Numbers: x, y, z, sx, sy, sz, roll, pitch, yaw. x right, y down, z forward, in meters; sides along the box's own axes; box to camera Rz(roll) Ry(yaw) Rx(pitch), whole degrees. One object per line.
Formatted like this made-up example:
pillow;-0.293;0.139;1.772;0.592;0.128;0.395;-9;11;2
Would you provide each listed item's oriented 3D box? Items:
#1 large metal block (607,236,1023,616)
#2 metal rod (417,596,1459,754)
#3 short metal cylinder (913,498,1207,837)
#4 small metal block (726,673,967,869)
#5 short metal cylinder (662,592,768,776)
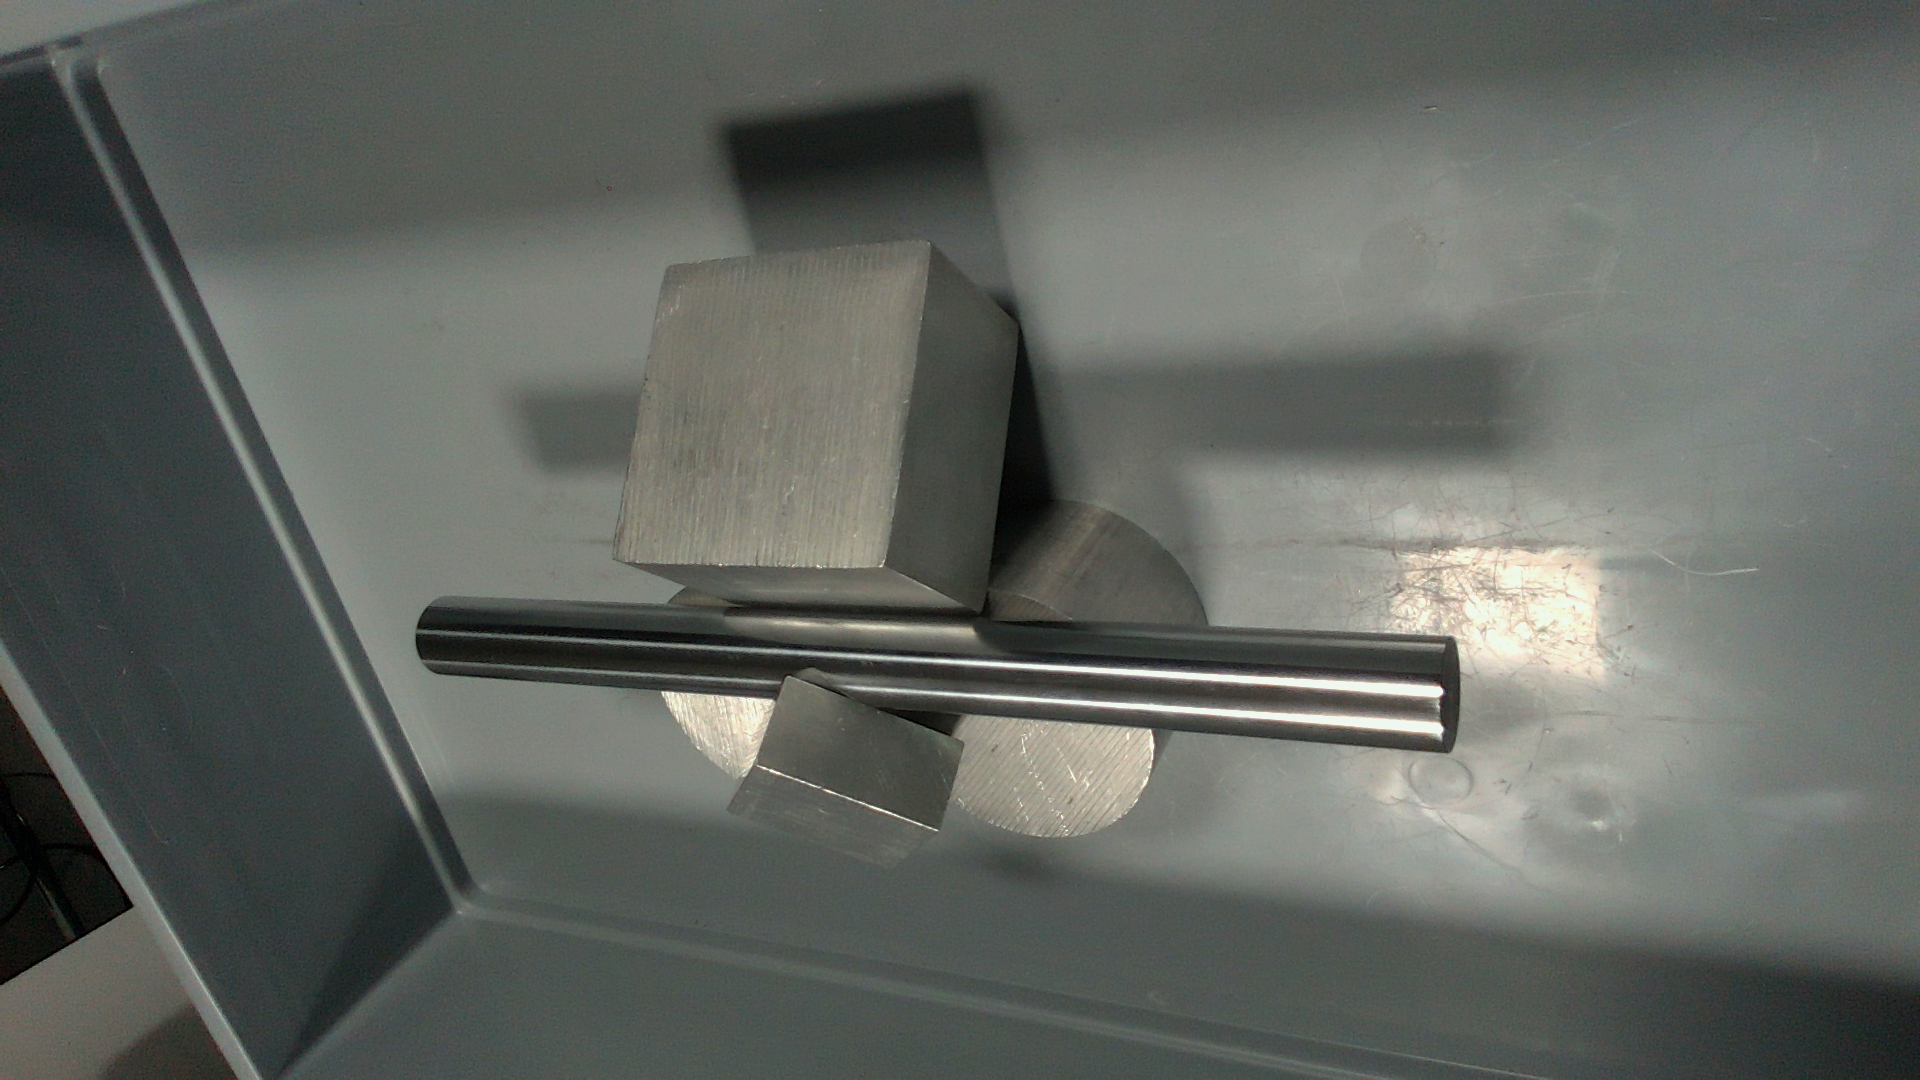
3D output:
large metal block;-0.035;-0.026;0.351;0.080;0.050;0.080;1;76;28
metal rod;-0.028;0.031;0.361;0.299;0.025;0.025;1;119;28
short metal cylinder;0.024;0.035;0.385;0.080;0.050;0.080;13;124;21
small metal block;-0.032;0.064;0.369;0.050;0.025;0.050;21;151;-8
short metal cylinder;-0.047;0.034;0.422;0.080;0.050;0.080;13;124;21
